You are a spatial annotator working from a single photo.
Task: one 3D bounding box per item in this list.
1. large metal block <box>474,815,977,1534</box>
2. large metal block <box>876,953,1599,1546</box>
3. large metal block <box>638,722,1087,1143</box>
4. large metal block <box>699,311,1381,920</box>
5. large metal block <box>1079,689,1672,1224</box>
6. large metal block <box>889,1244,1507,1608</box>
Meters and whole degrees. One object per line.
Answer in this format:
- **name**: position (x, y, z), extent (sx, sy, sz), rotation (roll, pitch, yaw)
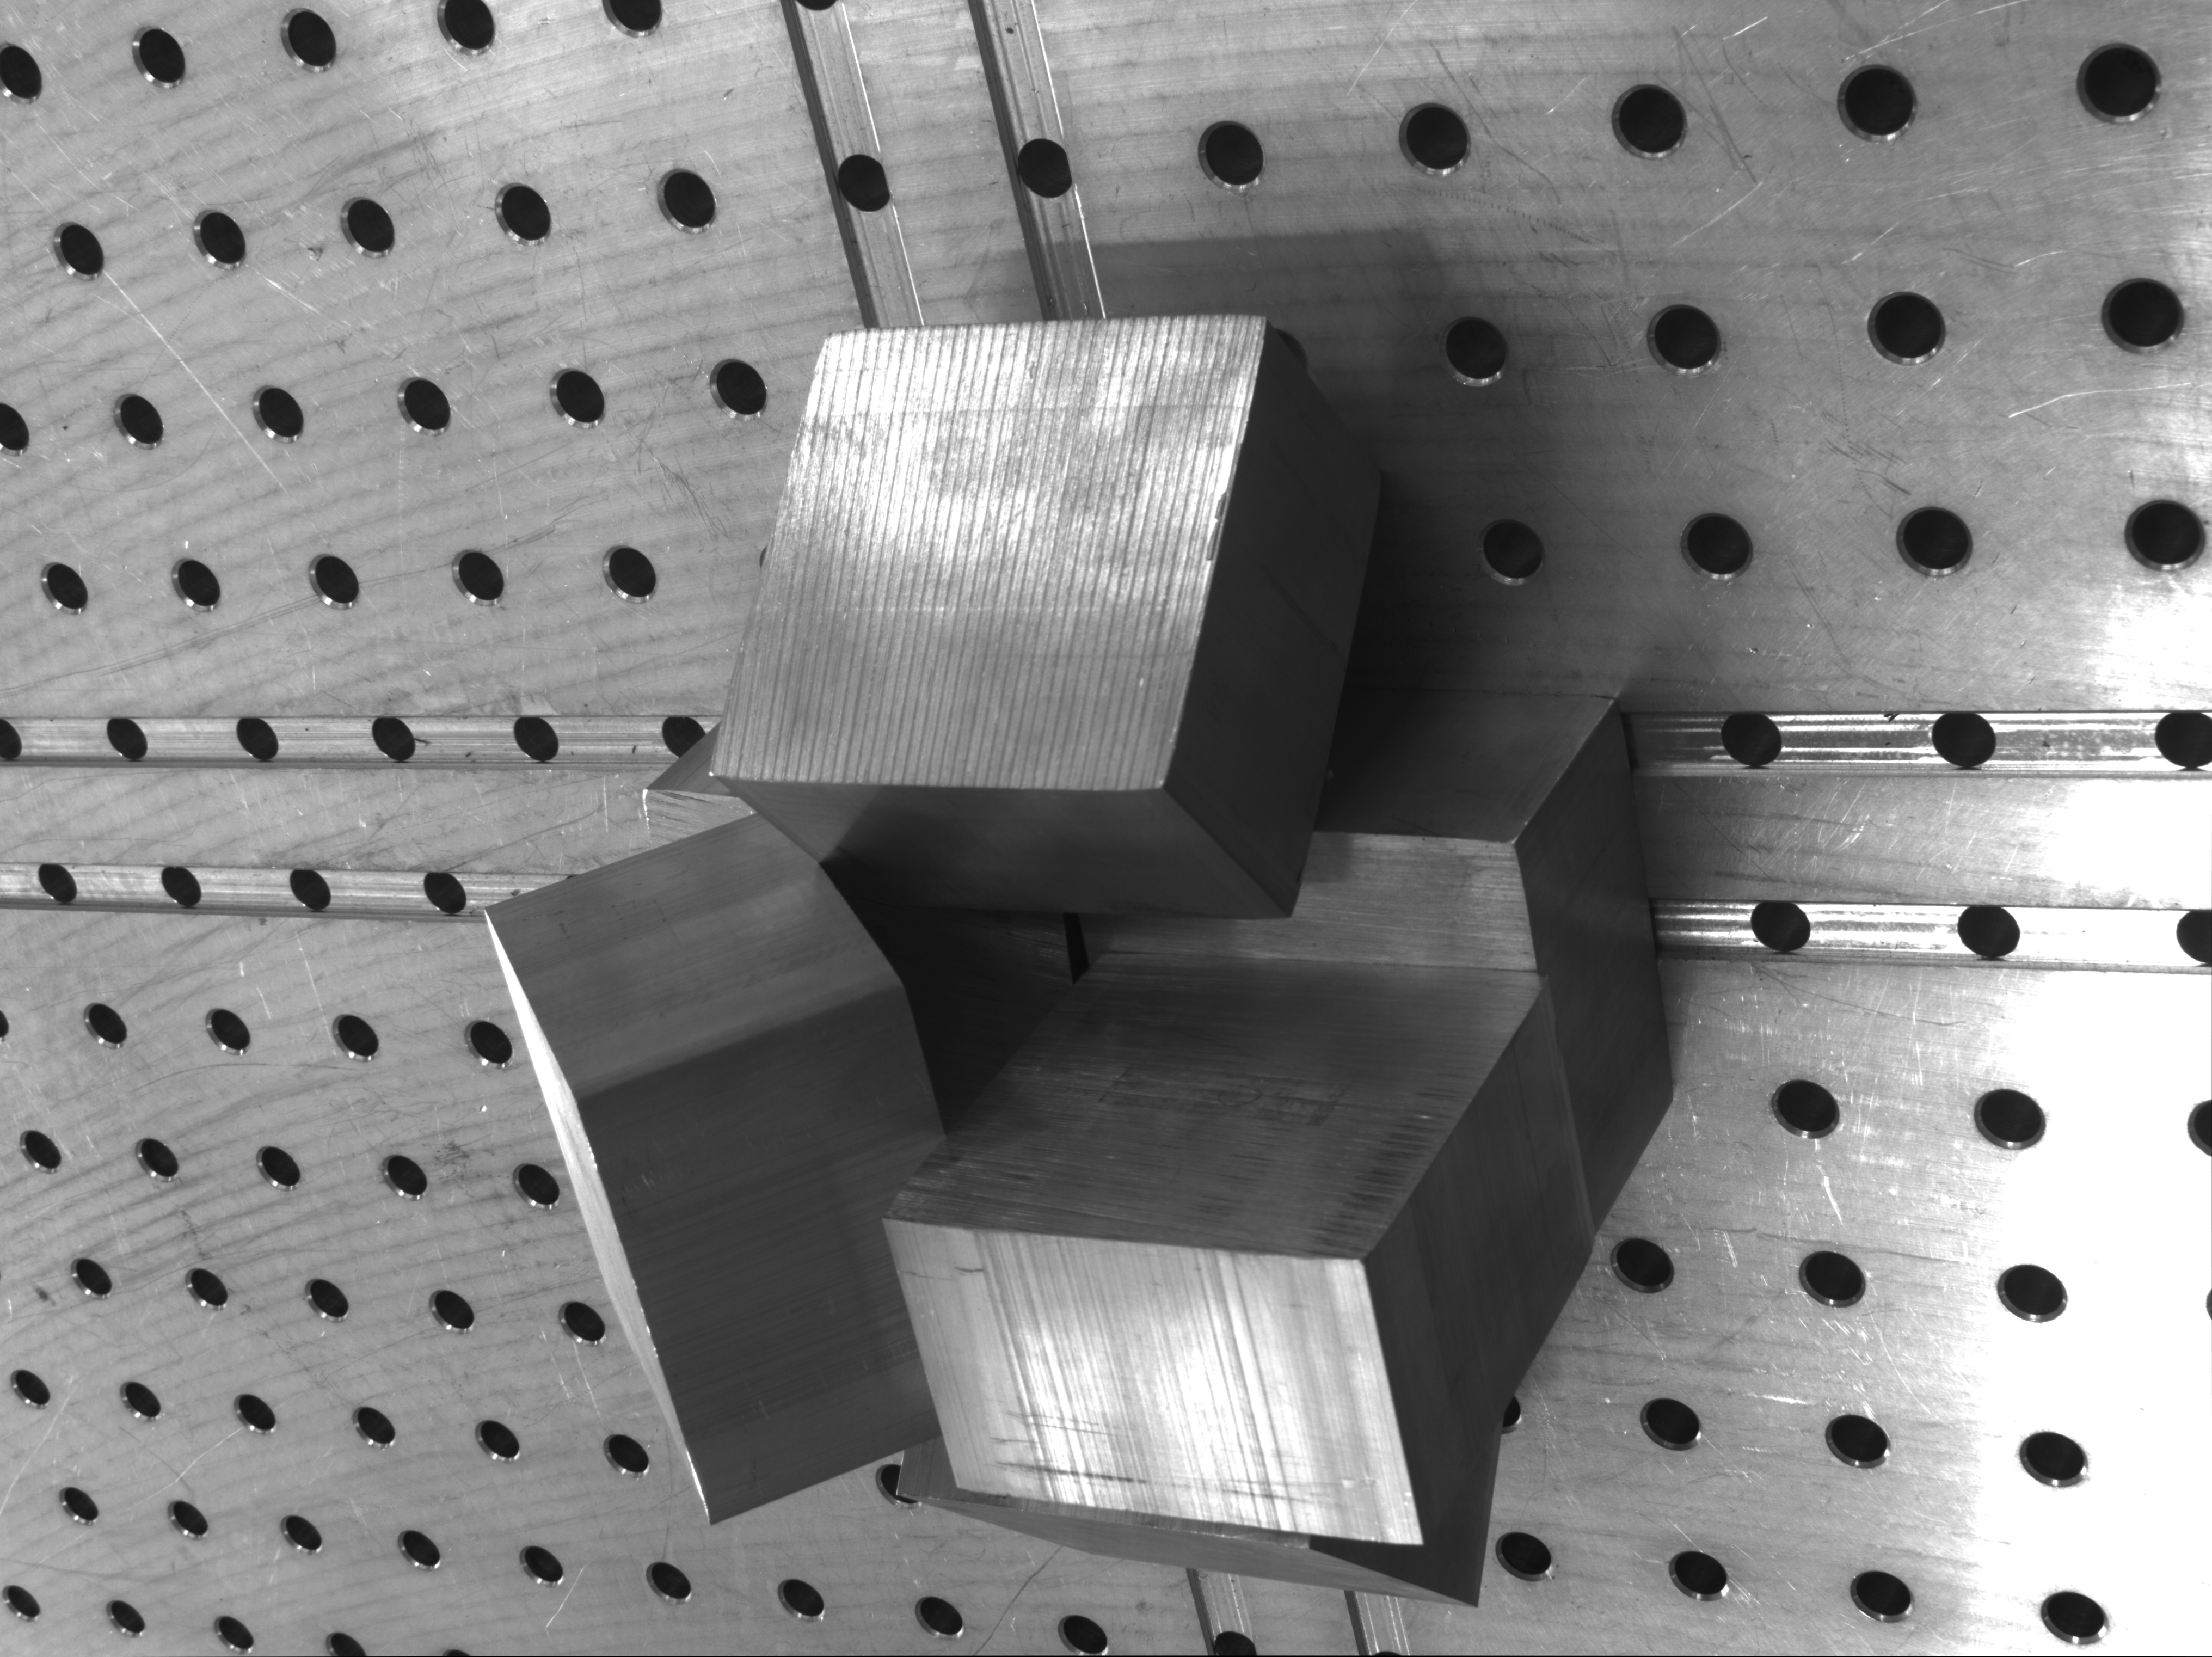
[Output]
- **large metal block**: position (-0.061, 0.054, 0.601), extent (0.080, 0.050, 0.080), rotation (-134, 27, -61)
- **large metal block**: position (0.023, 0.063, 0.572), extent (0.080, 0.080, 0.050), rotation (1, 119, 27)
- **large metal block**: position (-0.030, 0.020, 0.659), extent (0.080, 0.050, 0.080), rotation (7, 121, 25)
- **large metal block**: position (-0.009, -0.034, 0.586), extent (0.080, 0.080, 0.050), rotation (2, 158, 27)
- **large metal block**: position (0.045, 0.024, 0.620), extent (0.080, 0.050, 0.080), rotation (3, 120, 27)
- **large metal block**: position (0.019, 0.104, 0.657), extent (0.080, 0.050, 0.080), rotation (2, 164, 27)
